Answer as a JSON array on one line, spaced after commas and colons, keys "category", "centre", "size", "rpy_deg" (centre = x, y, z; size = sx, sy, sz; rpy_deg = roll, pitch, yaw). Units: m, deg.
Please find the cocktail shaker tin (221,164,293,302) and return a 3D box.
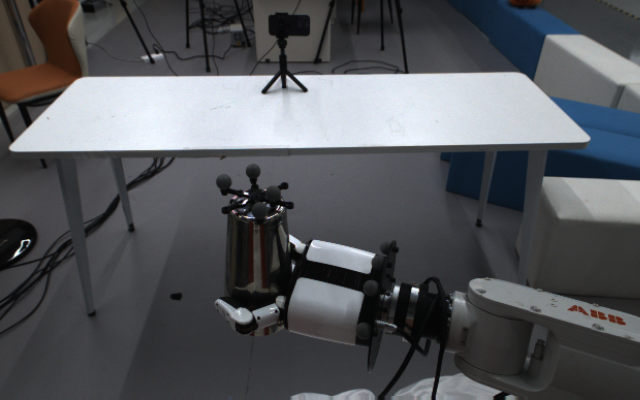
[{"category": "cocktail shaker tin", "centre": [-0.074, 0.074, 0.593], "size": [0.093, 0.170, 0.093], "rpy_deg": [3, 34, -2]}]
